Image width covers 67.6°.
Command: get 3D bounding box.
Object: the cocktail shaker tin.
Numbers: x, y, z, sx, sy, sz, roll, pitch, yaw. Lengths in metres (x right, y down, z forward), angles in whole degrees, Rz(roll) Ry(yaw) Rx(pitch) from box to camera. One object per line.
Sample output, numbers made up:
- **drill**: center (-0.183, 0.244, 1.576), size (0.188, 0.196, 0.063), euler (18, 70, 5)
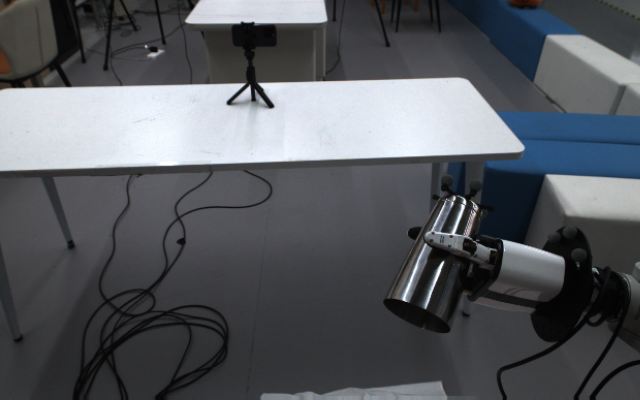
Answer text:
- **cocktail shaker tin**: center (0.163, 0.077, 0.653), size (0.093, 0.093, 0.170), euler (18, 67, 22)
